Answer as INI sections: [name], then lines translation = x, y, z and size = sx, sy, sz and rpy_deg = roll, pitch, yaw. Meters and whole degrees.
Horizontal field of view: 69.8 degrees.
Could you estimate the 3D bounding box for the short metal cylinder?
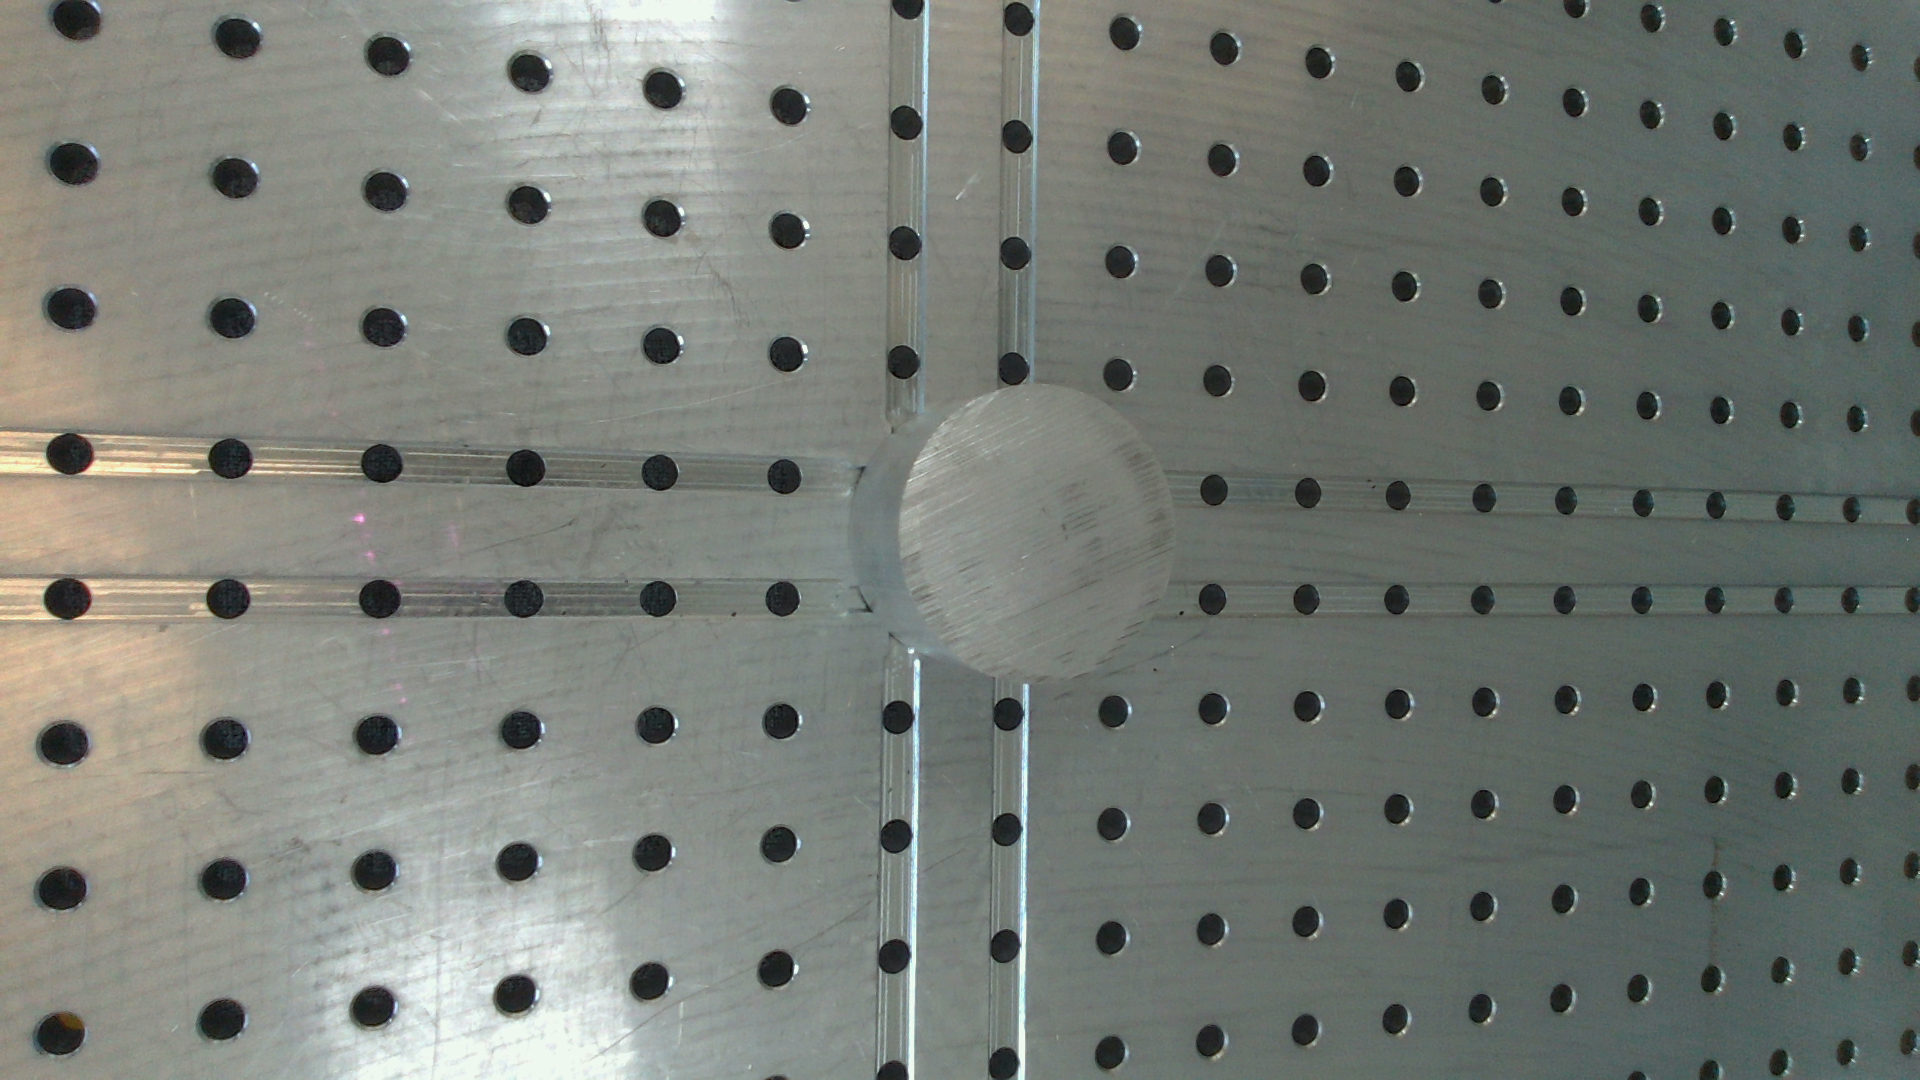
[short metal cylinder]
translation = 0.013, -0.001, 0.387
size = 0.080, 0.050, 0.080
rpy_deg = 0, 90, -20
